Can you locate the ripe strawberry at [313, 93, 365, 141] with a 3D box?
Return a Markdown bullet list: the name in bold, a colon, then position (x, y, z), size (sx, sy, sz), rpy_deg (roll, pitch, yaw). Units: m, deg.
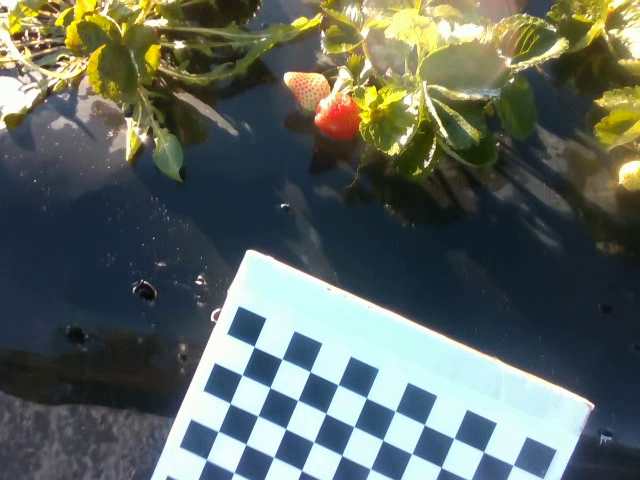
- **ripe strawberry**: position (0.011, -0.096, 0.461), size (0.040, 0.038, 0.055), rpy_deg (6, 4, 31)
